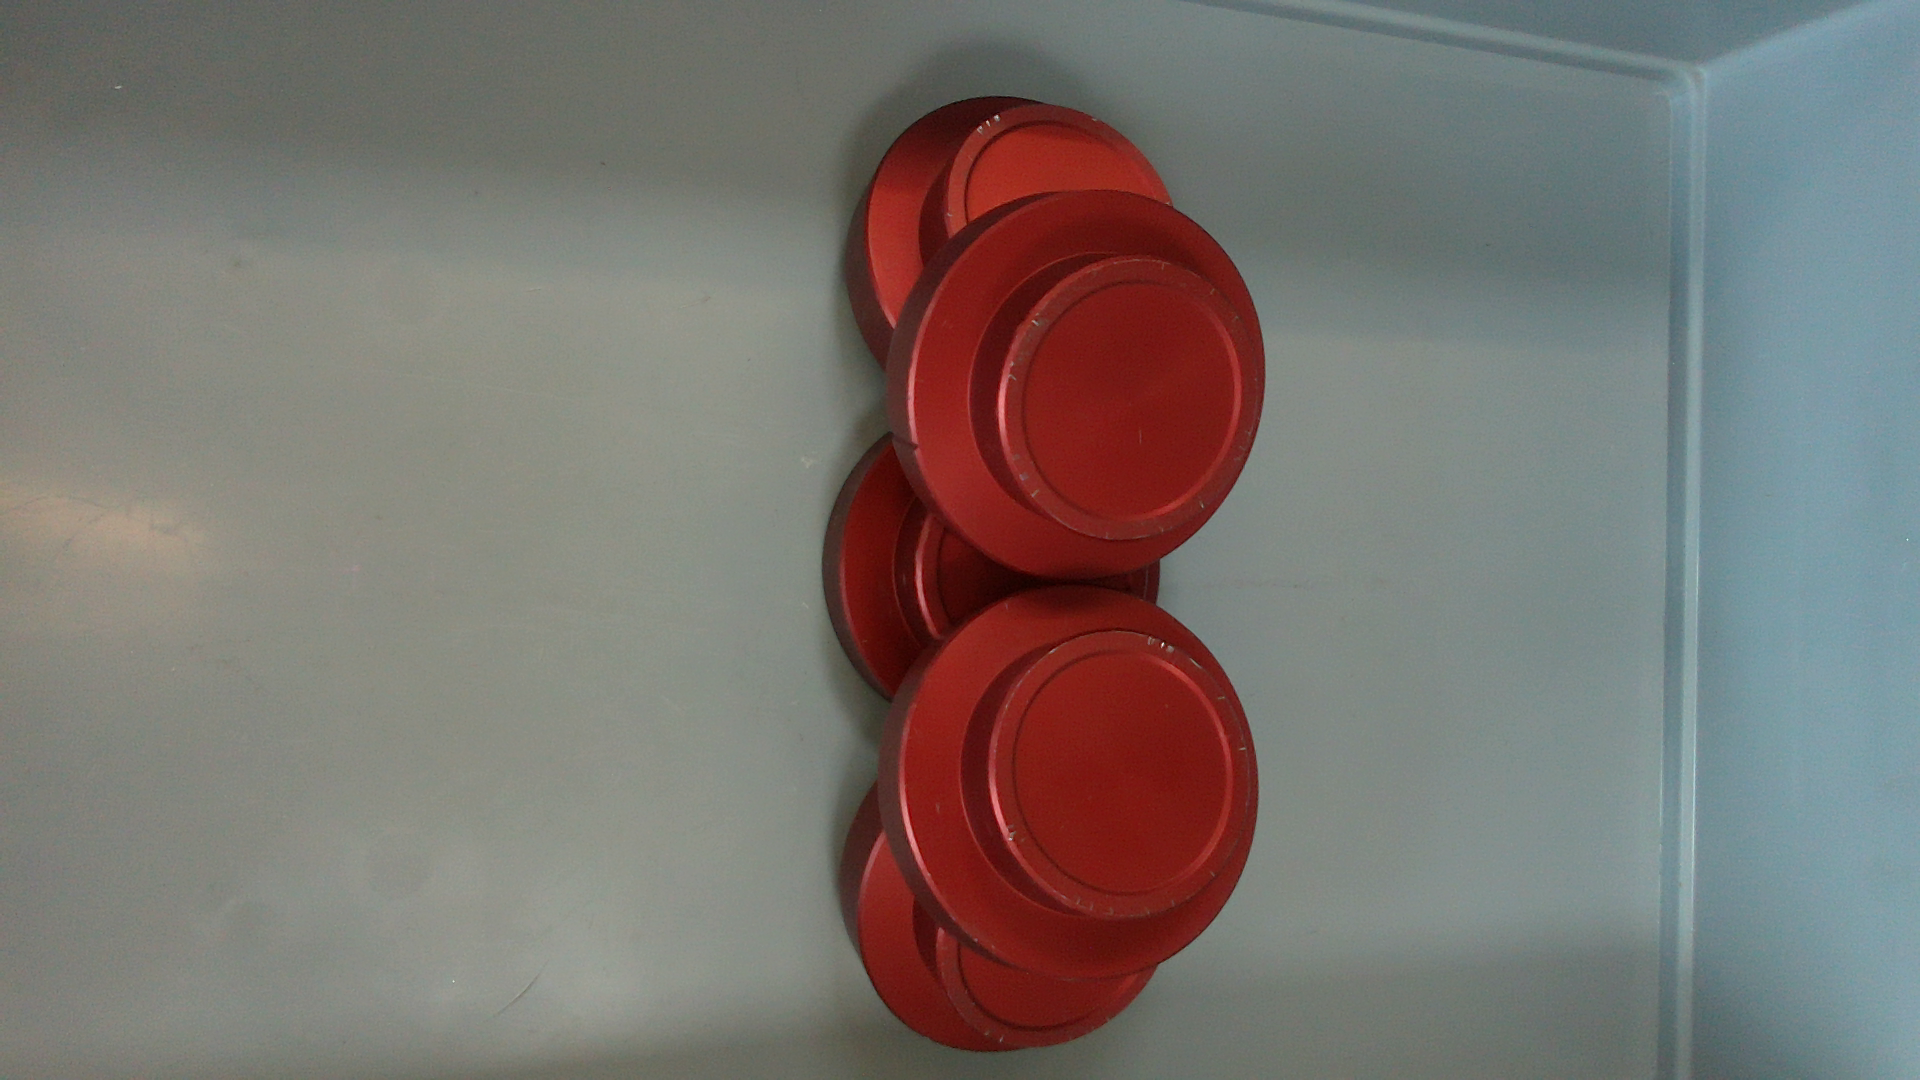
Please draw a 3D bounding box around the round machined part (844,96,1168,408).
[{"bbox_3d":[0.020,-0.080,0.379,0.098,0.042,0.098,6,72,-19],"label":"round machined part"}]

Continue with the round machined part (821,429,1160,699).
[{"bbox_3d":[0.013,0.007,0.388,0.098,0.042,0.098,0,89,-20],"label":"round machined part"}]

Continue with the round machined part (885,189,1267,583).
[{"bbox_3d":[0.034,-0.037,0.341,0.098,0.042,0.098,-5,104,-19],"label":"round machined part"}]

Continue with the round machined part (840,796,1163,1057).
[{"bbox_3d":[0.020,0.099,0.376,0.098,0.042,0.098,-5,107,-18],"label":"round machined part"}]

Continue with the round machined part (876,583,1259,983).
[{"bbox_3d":[0.032,0.059,0.341,0.098,0.042,0.098,4,78,-19],"label":"round machined part"}]
